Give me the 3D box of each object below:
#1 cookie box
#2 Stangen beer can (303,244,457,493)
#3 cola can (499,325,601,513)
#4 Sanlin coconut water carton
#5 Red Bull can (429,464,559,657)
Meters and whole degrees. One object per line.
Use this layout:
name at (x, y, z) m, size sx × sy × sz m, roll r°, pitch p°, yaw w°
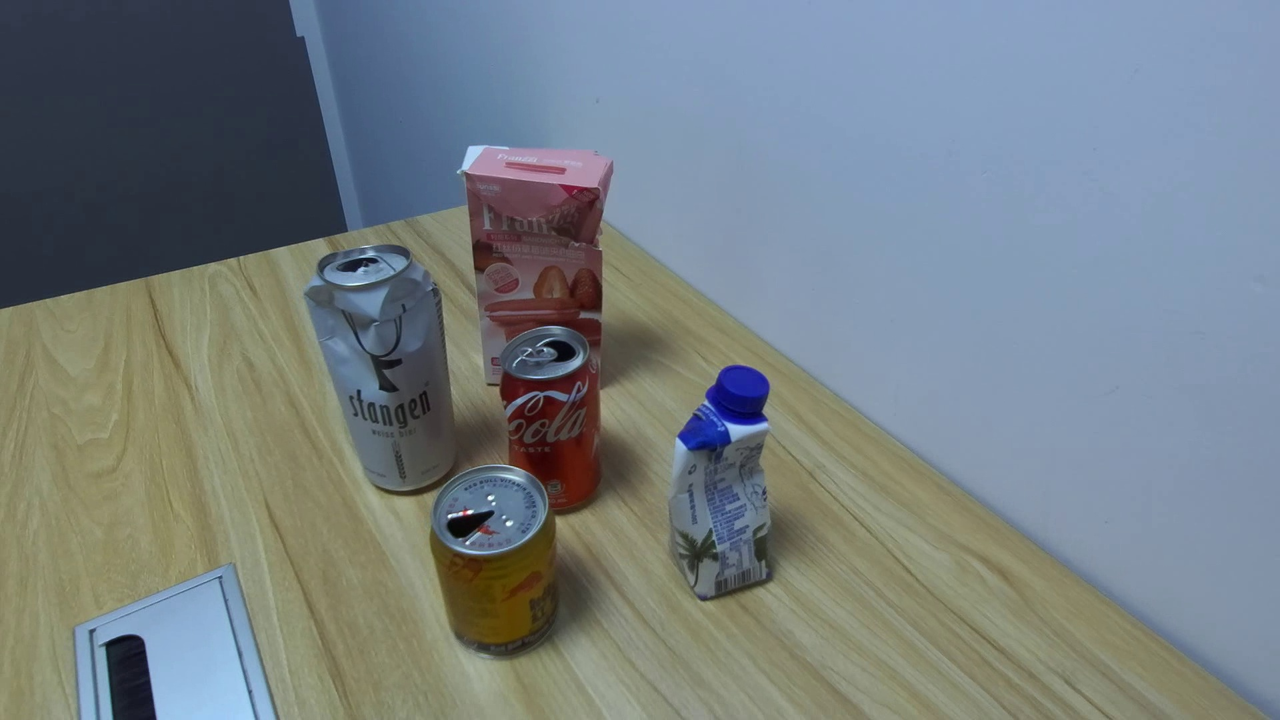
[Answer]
cookie box at (-0.076, -0.064, 0.541) m, size 0.105 × 0.186 × 0.059 m, roll 5°, pitch 39°, yaw 2°
Stangen beer can at (-0.162, 0.008, 0.461) m, size 0.065 × 0.166 × 0.066 m, roll 18°, pitch 39°, yaw 20°
cola can at (-0.057, 0.041, 0.467) m, size 0.065 × 0.117 × 0.072 m, roll 12°, pitch 38°, yaw 10°
Sanlin coconut water carton at (0.042, 0.070, 0.411) m, size 0.068 × 0.145 × 0.056 m, roll -19°, pitch 34°, yaw -14°
Red Bull can at (-0.079, 0.111, 0.390) m, size 0.067 × 0.093 × 0.067 m, roll 2°, pitch 38°, yaw -2°
